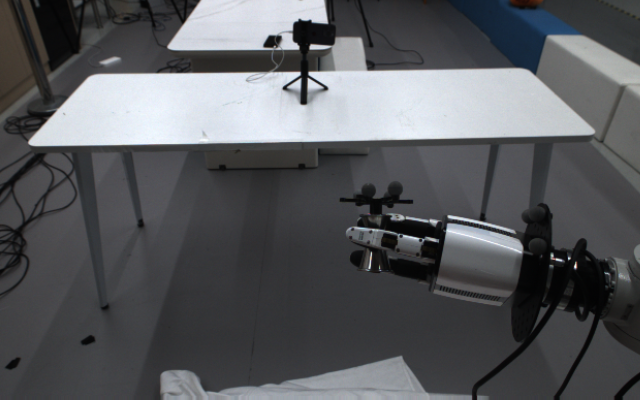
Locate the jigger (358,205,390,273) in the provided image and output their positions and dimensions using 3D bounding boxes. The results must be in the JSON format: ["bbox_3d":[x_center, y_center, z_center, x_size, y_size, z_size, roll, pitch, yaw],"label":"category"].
[{"bbox_3d":[0.067,0.052,0.590,0.043,0.071,0.043,1,-6,0],"label":"jigger"}]
